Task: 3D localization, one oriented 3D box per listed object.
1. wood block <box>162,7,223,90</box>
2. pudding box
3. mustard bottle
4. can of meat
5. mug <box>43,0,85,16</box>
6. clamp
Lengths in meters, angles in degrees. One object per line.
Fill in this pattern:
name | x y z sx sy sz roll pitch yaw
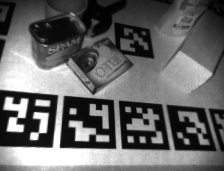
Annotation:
wood block | 0.223 -0.101 0.553 0.089 0.091 0.207 36 55 6
pudding box | -0.021 -0.051 0.468 0.115 0.038 0.089 -36 79 -33
mustard bottle | 0.192 -0.221 0.543 0.097 0.191 0.058 -1 63 -17
can of meat | -0.109 -0.091 0.427 0.103 0.083 0.057 -26 73 -28
mug | -0.111 -0.171 0.504 0.093 0.081 0.117 24 59 -4
clamp | -0.036 -0.197 0.550 0.122 0.036 0.165 23 59 -8
